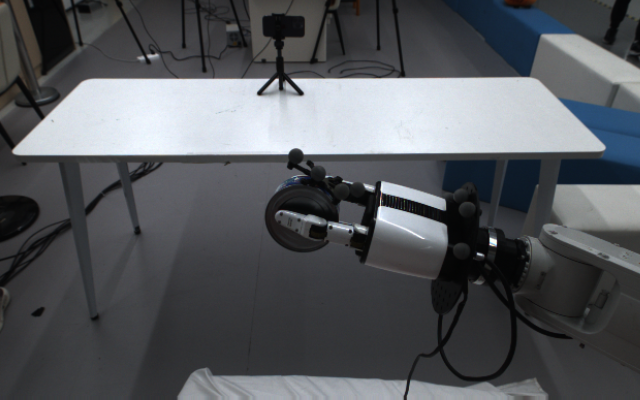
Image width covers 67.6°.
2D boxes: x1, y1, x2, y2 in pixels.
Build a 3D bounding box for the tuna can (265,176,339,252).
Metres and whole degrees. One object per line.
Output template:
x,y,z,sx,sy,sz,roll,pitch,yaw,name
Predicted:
-0.018,0.016,0.572,0.085,0.085,0.034,4,20,3,tuna can
